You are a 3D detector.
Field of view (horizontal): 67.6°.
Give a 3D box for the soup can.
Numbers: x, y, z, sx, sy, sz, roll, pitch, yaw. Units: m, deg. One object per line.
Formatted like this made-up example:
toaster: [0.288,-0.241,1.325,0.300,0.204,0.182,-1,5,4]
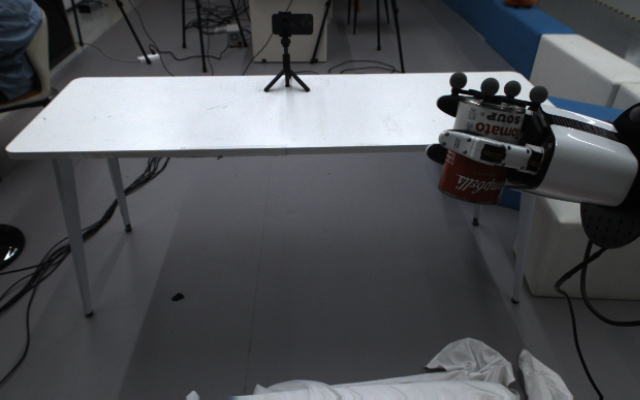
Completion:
soup can: [0.173,-0.054,0.516,0.067,0.101,0.067,9,19,-3]
